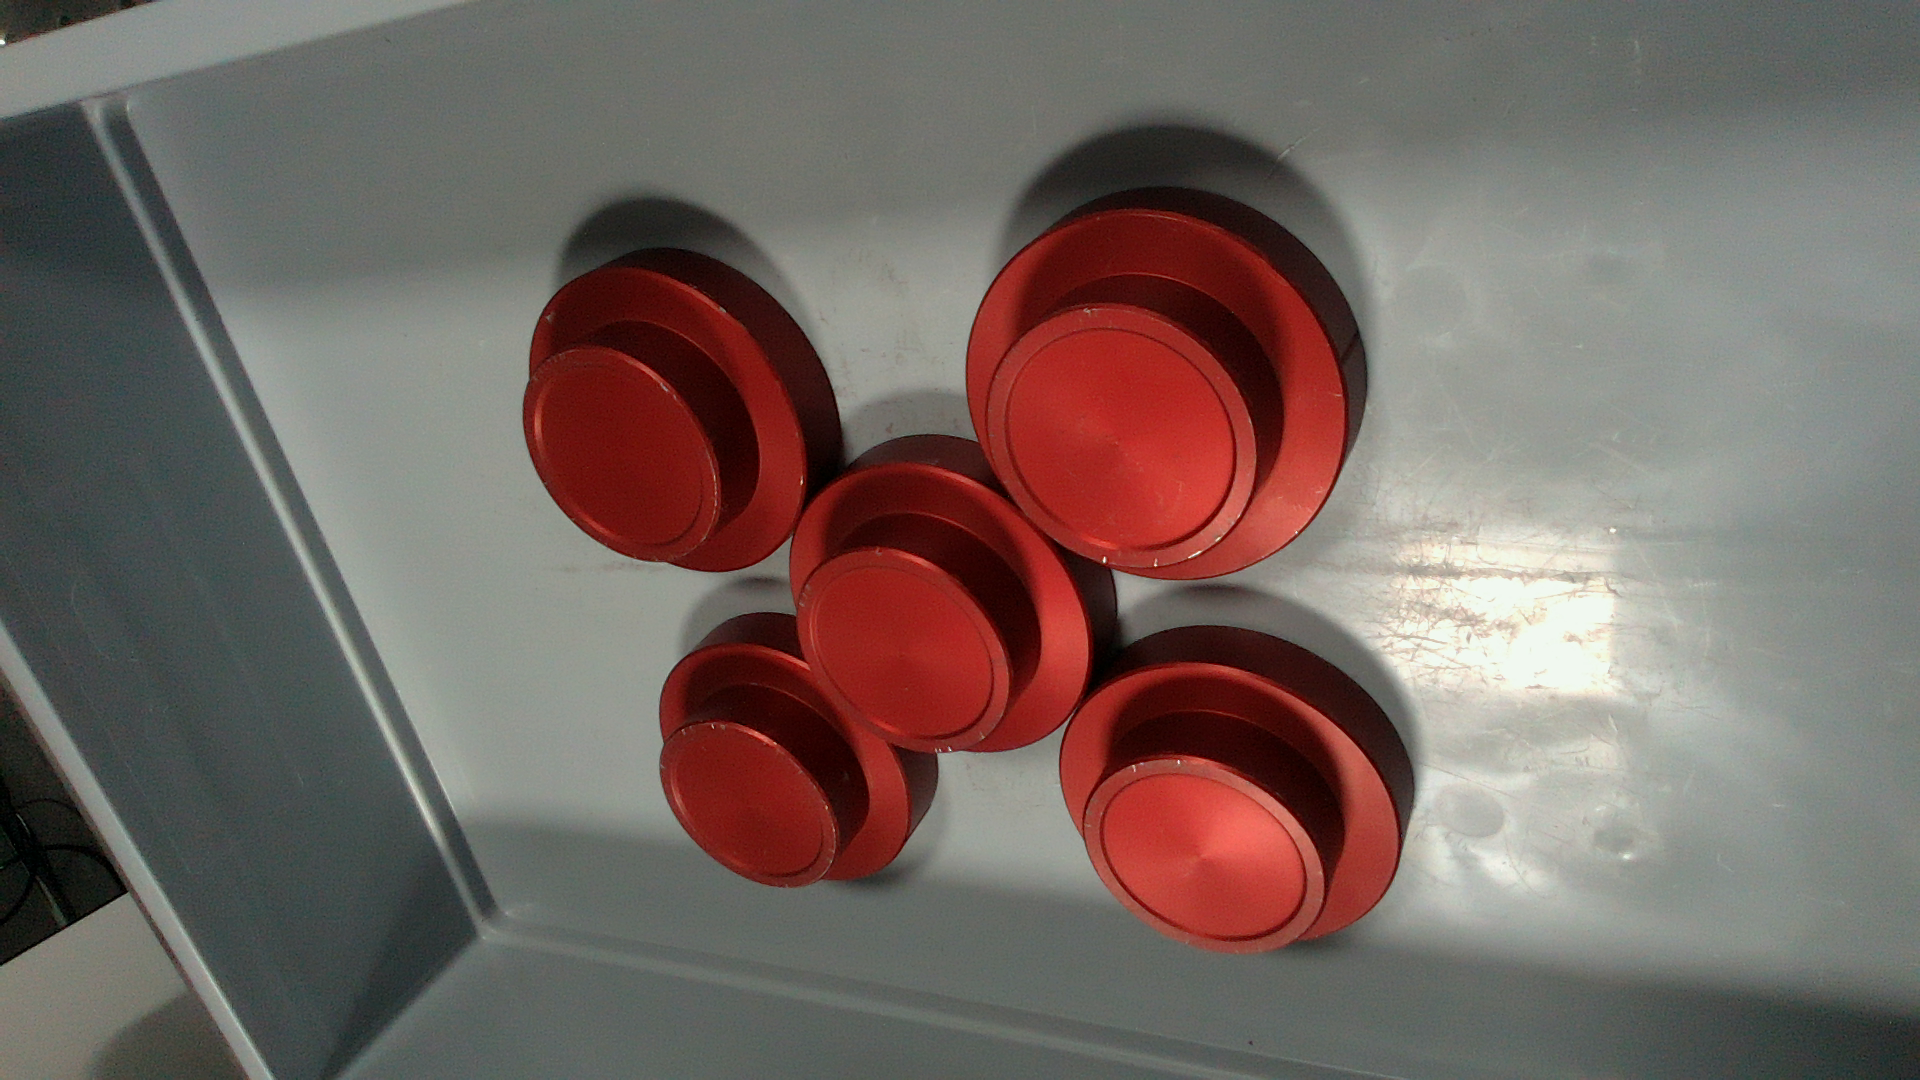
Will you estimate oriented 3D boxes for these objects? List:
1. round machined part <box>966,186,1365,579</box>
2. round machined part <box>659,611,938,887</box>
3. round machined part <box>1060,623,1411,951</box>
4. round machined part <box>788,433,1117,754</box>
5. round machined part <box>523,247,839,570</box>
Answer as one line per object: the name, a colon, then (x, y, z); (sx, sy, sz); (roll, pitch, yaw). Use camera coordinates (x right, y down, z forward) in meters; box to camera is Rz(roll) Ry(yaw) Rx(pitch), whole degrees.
round machined part: (0.045, -0.032, 0.336); (0.098, 0.042, 0.098); (13, 124, 21)
round machined part: (-0.060, 0.076, 0.460); (0.098, 0.042, 0.098); (13, 124, 21)
round machined part: (0.074, 0.076, 0.388); (0.098, 0.042, 0.098); (13, 124, 21)
round machined part: (-0.008, 0.022, 0.398); (0.098, 0.042, 0.098); (13, 124, 21)
round machined part: (-0.089, -0.033, 0.408); (0.098, 0.042, 0.098); (13, 124, 21)
